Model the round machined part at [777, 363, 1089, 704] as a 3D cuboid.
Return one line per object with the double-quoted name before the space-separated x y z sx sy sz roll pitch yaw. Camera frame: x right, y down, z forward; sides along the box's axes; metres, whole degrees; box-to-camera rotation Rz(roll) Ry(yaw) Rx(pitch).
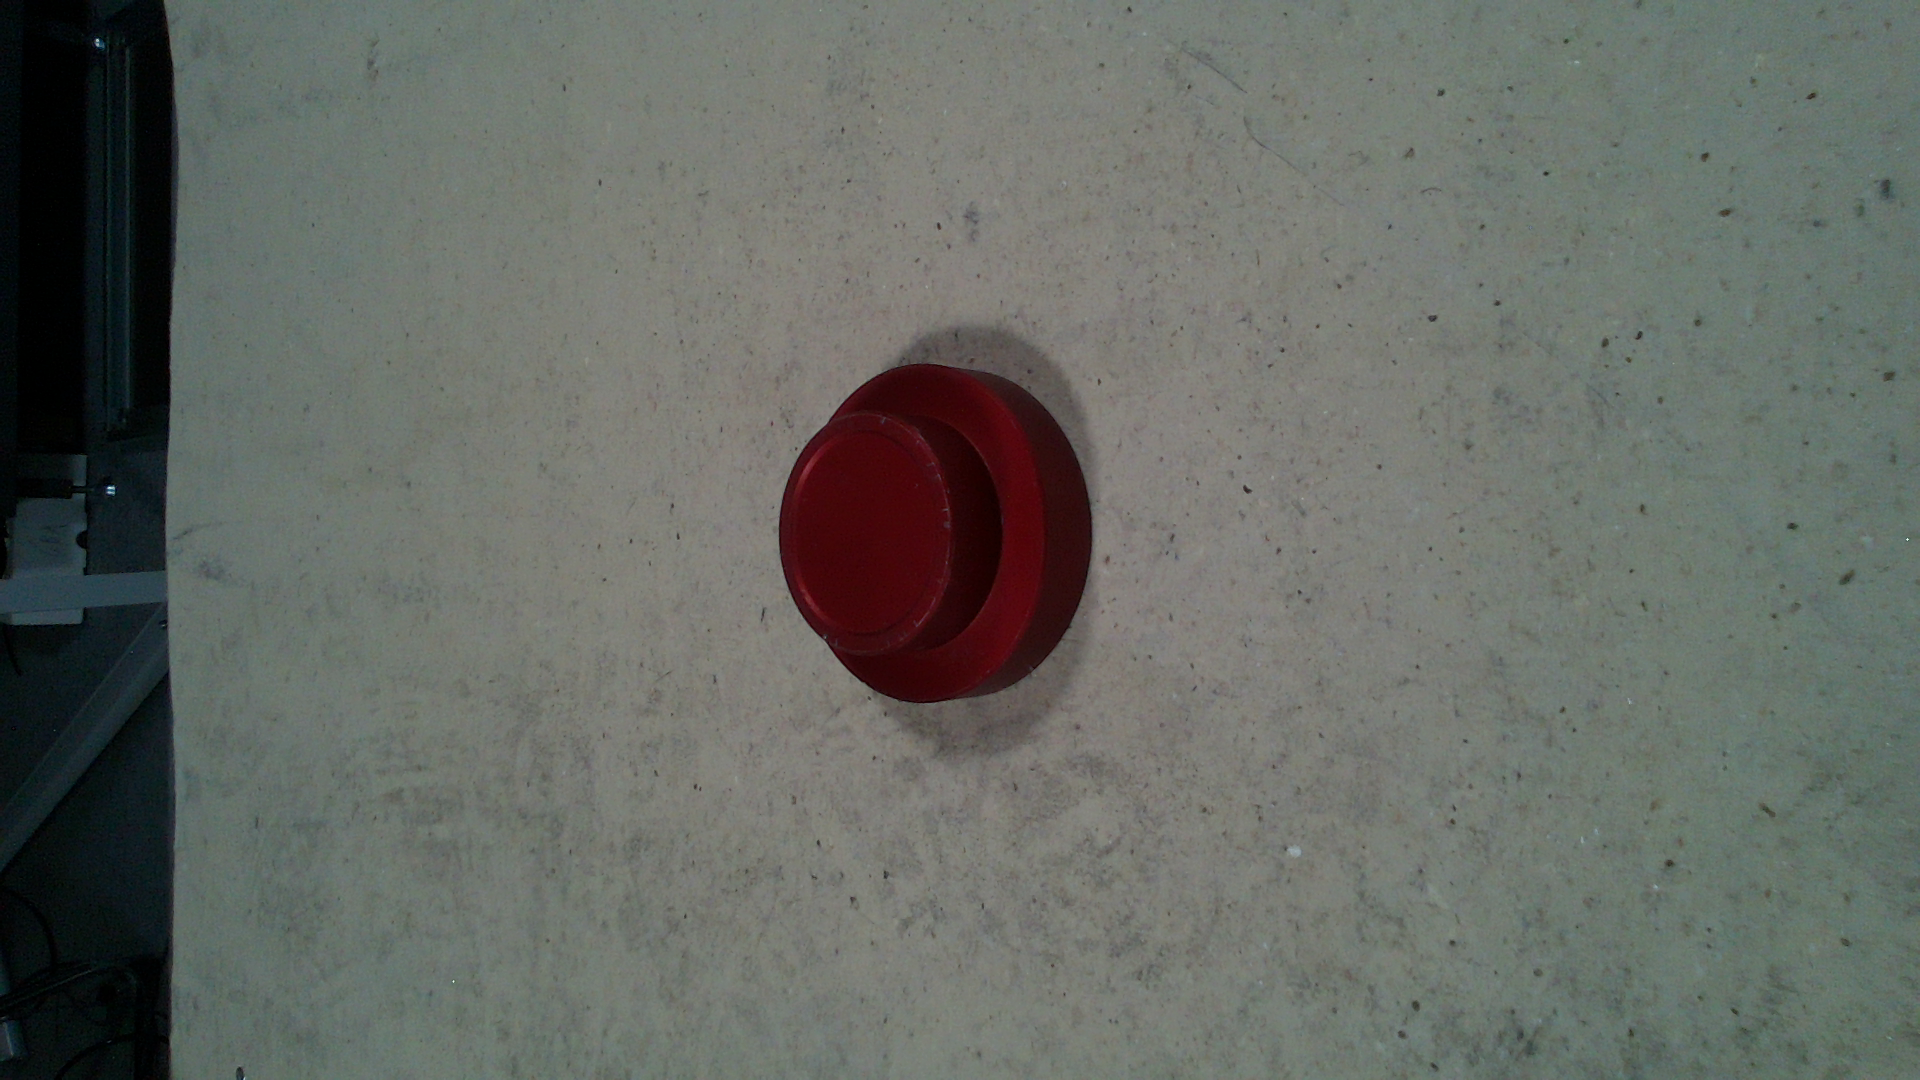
"round machined part" -0.015 -0.002 0.396 0.098 0.042 0.098 0 90 40
